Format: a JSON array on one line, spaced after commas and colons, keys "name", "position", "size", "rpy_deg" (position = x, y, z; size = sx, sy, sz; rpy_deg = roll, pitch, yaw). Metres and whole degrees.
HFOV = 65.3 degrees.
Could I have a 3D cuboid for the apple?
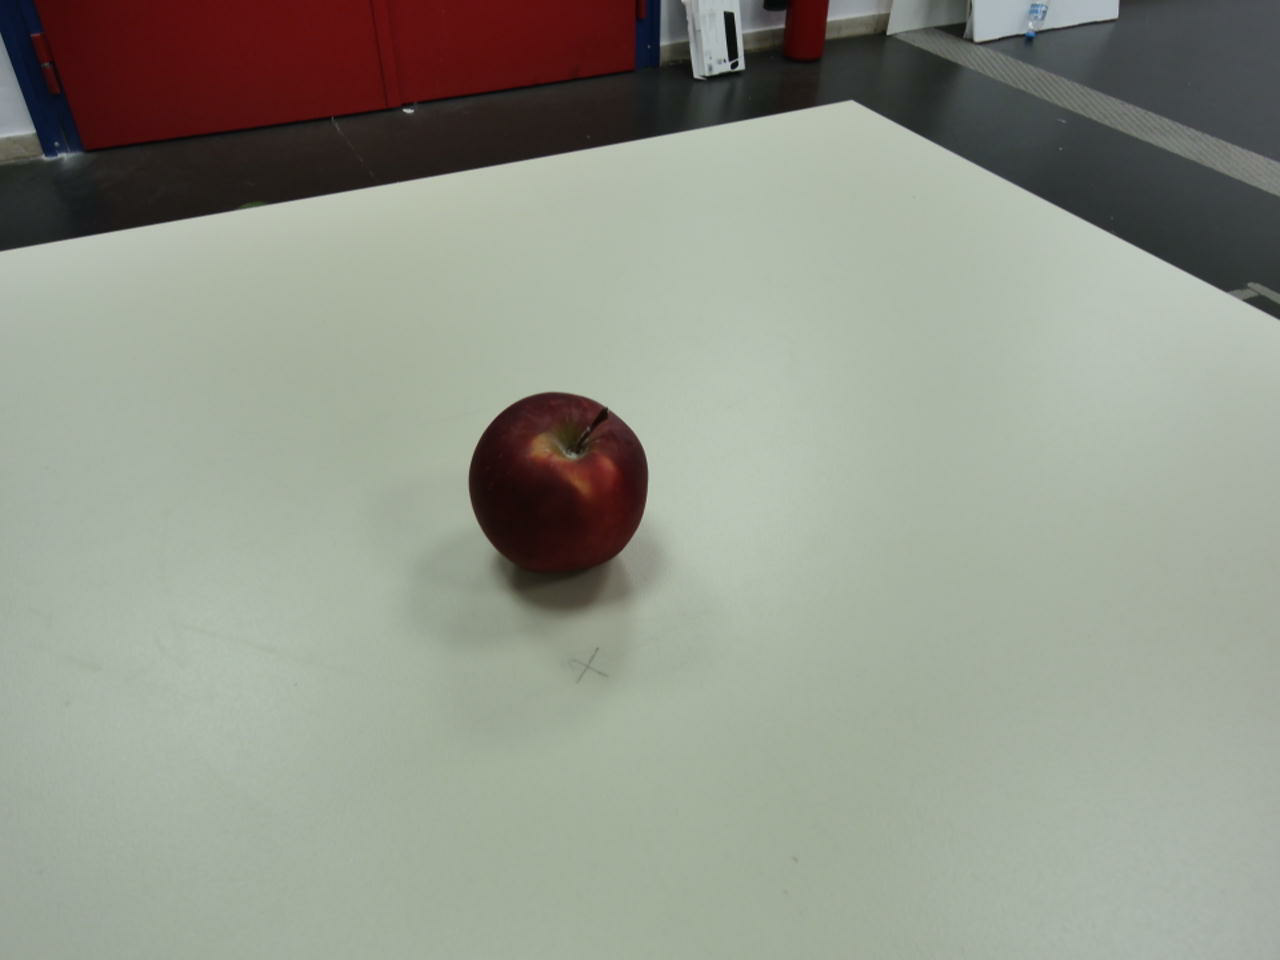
[{"name": "apple", "position": [-0.031, 0.002, 0.386], "size": [0.070, 0.072, 0.070], "rpy_deg": [0, 38, 0]}]
